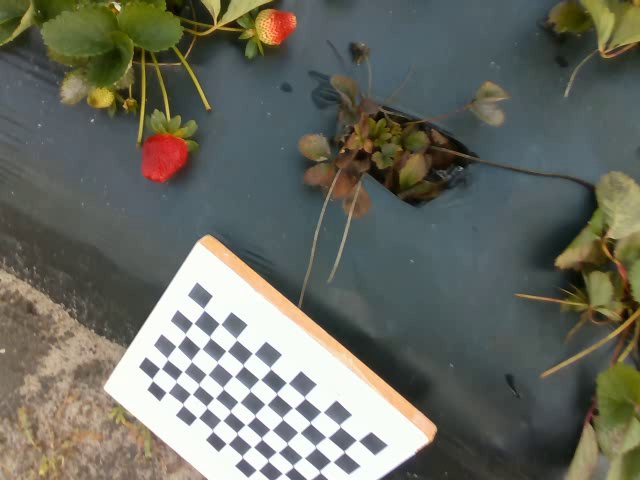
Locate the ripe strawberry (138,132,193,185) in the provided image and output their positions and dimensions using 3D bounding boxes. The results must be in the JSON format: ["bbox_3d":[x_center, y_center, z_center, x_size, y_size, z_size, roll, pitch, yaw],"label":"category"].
[{"bbox_3d":[-0.145,-0.074,0.576,0.045,0.055,0.042,-2,-40,30],"label":"ripe strawberry"}]
